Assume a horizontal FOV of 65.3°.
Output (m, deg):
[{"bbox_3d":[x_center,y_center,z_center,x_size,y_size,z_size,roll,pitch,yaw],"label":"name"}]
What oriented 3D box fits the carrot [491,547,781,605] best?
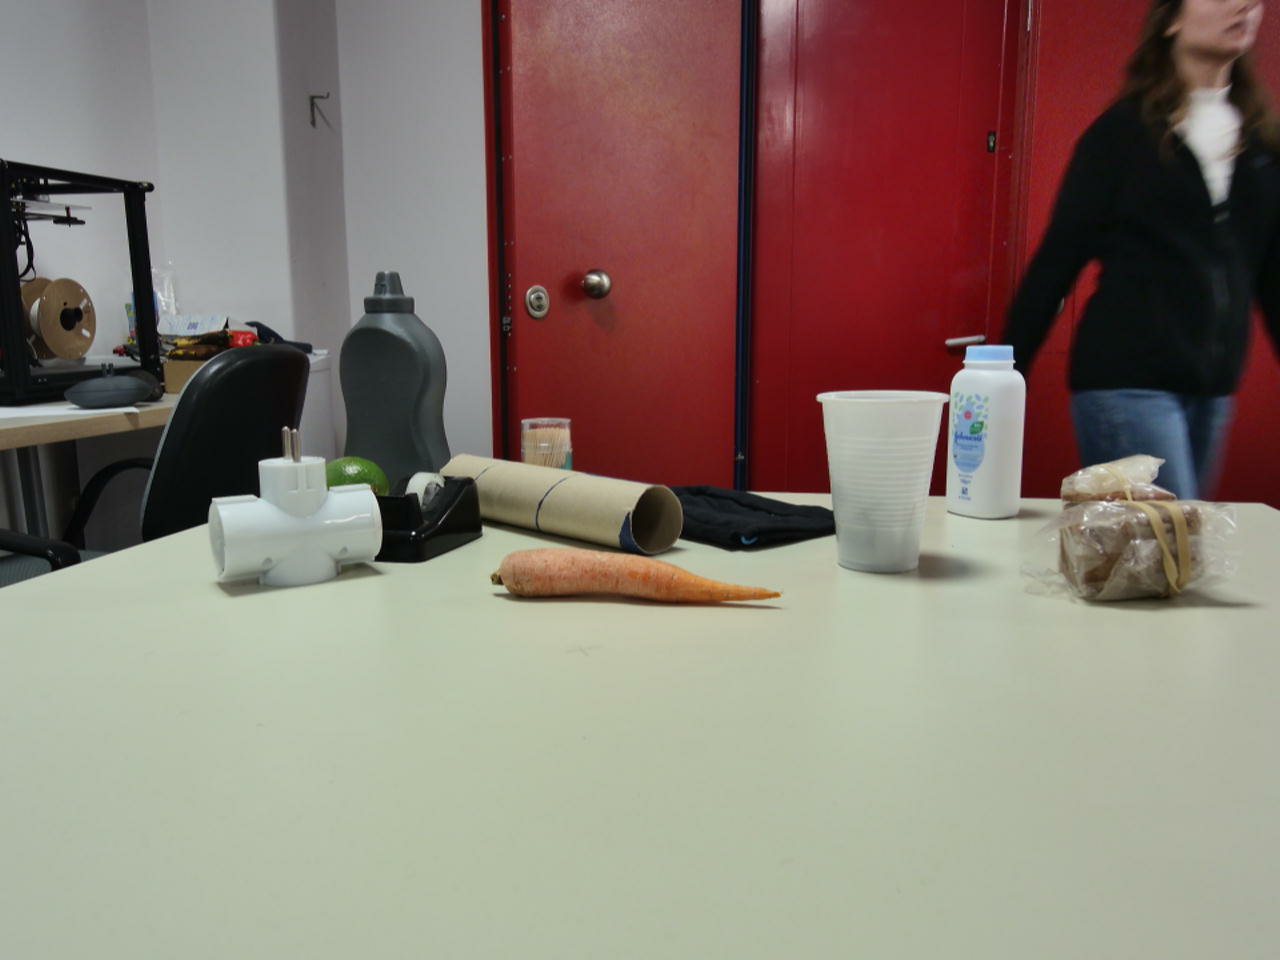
[{"bbox_3d":[-0.004,0.053,0.552,0.163,0.029,0.031,1,7,11],"label":"carrot"}]
